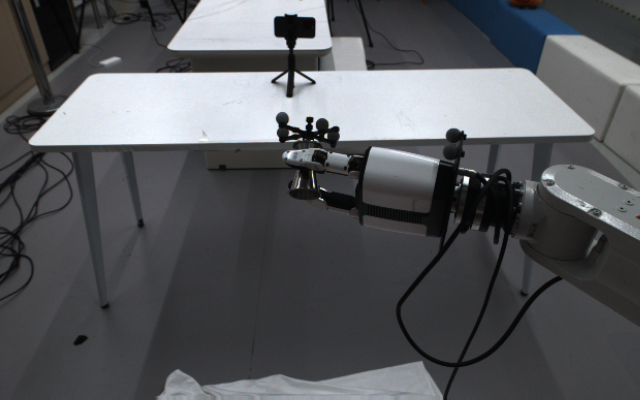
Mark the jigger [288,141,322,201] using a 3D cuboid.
[{"bbox_3d":[-0.019,-0.040,0.624,0.043,0.043,0.071,3,72,1],"label":"jigger"}]
